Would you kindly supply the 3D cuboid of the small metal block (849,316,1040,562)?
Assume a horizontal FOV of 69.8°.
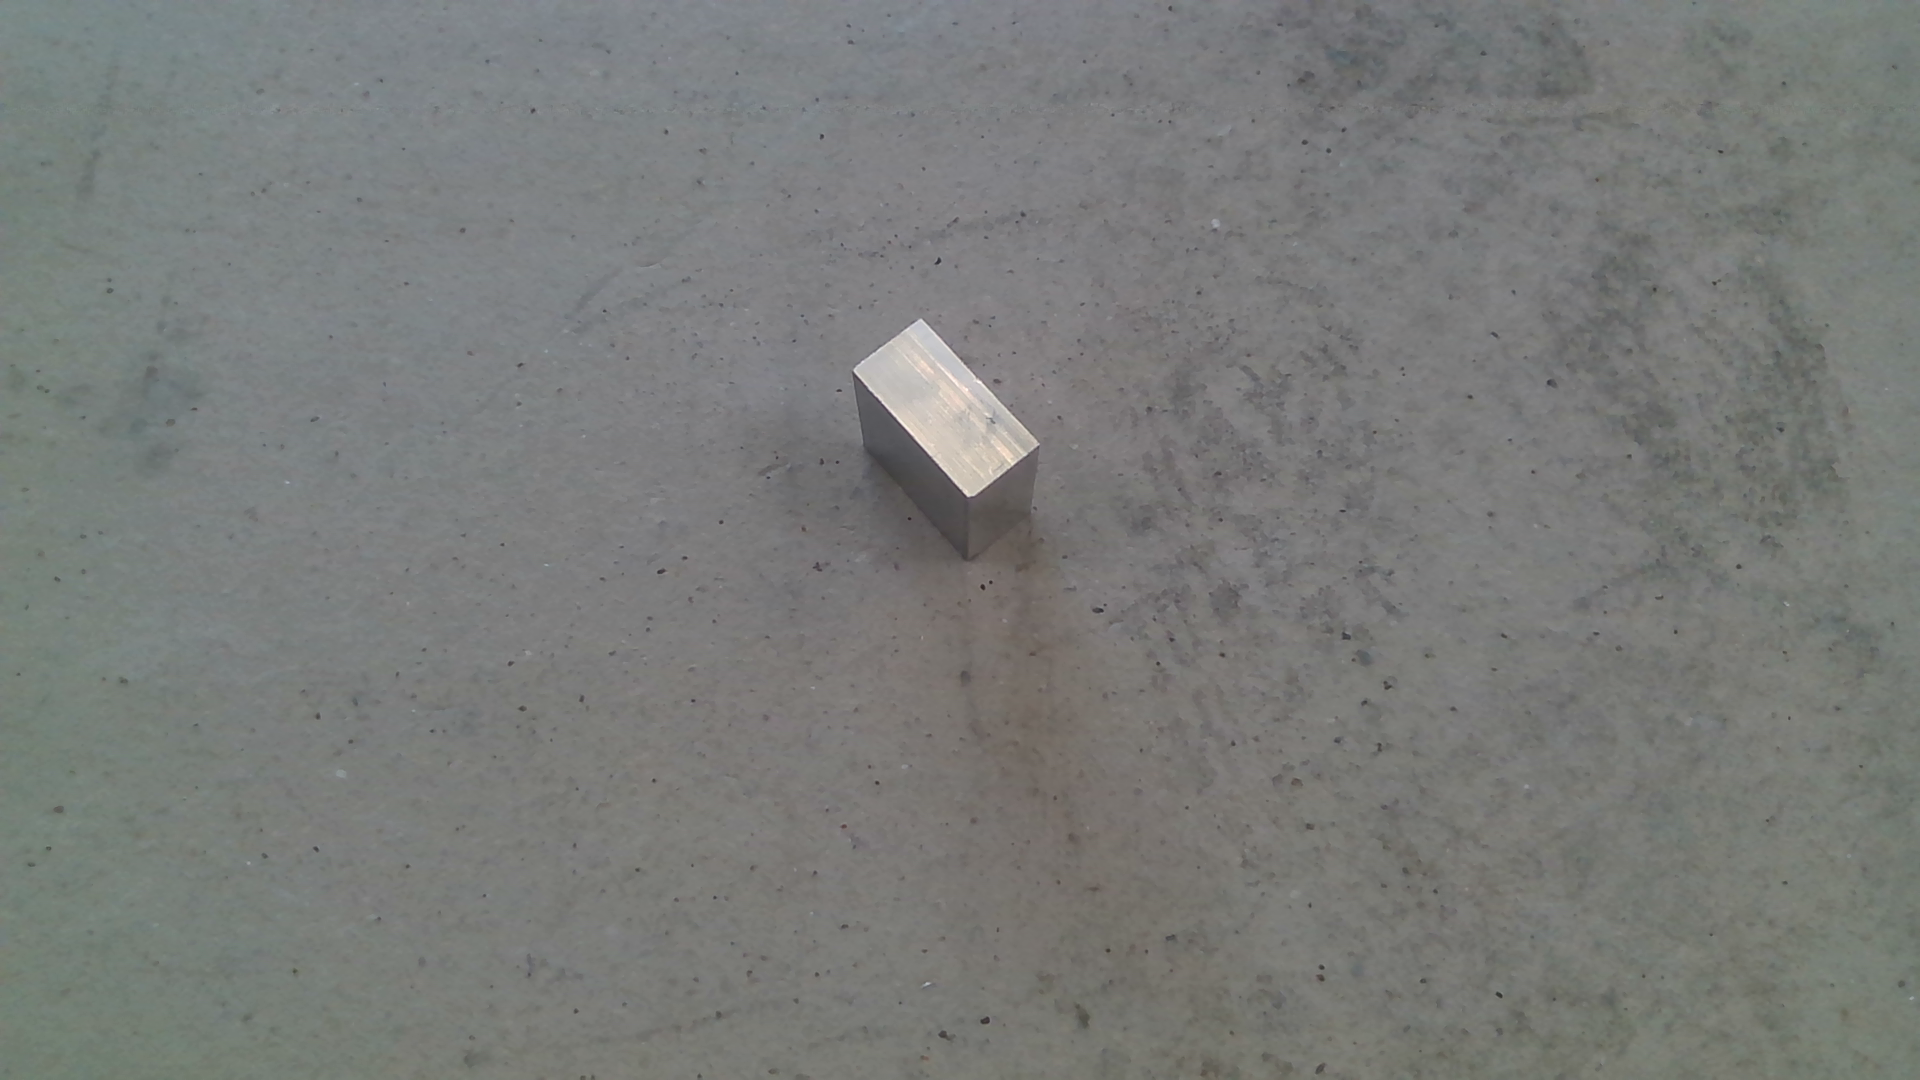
[{"bbox_3d":[-0.004,-0.027,0.392,0.025,0.050,0.050,-39,75,-12],"label":"small metal block"}]
